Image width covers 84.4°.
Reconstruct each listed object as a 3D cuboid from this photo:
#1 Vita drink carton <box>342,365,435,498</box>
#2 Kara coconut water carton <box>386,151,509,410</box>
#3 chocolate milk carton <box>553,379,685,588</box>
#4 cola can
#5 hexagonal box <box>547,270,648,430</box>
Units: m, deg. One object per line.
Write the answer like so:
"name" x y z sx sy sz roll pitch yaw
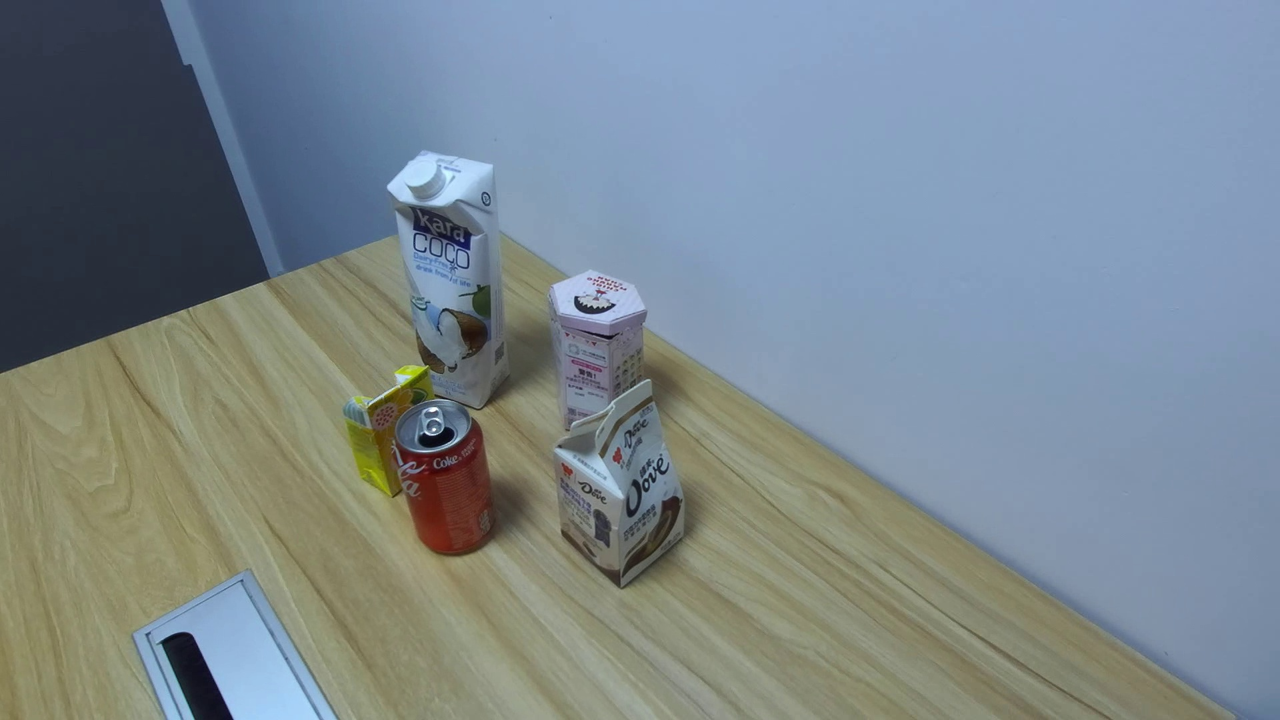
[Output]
"Vita drink carton" -0.210 0.053 0.600 0.046 0.110 0.071 26 45 24
"Kara coconut water carton" -0.167 -0.070 0.643 0.099 0.244 0.071 14 41 15
"chocolate milk carton" -0.011 0.084 0.530 0.084 0.155 0.072 -31 49 -33
"cola can" -0.151 0.091 0.550 0.068 0.120 0.067 0 40 0
"hexagonal box" -0.037 -0.004 0.649 0.092 0.135 0.085 12 41 15
